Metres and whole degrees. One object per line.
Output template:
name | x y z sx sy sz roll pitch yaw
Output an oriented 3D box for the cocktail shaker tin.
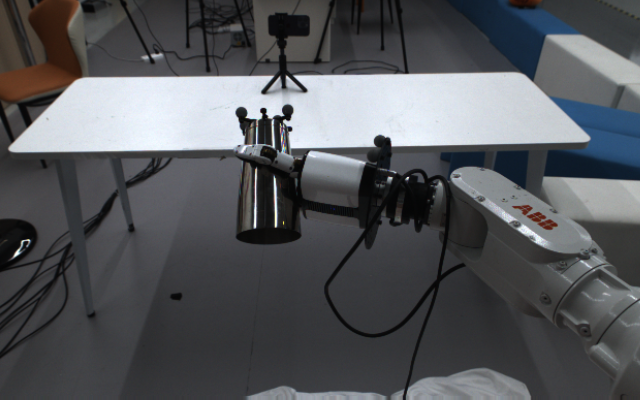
cocktail shaker tin | -0.078 -0.028 0.704 0.093 0.093 0.170 -2 70 -5
